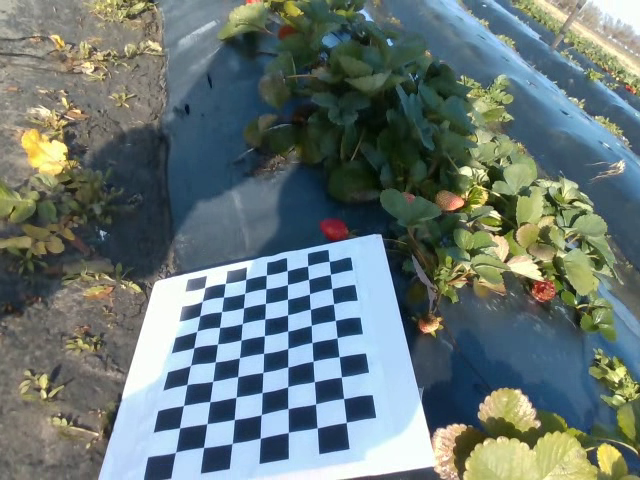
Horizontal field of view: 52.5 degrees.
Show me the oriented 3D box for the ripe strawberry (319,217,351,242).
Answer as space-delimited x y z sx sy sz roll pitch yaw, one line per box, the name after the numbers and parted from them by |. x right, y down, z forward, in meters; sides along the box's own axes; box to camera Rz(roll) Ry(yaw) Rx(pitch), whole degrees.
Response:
0.010 -0.009 0.670 0.037 0.033 0.035 33 25 -23 | ripe strawberry
